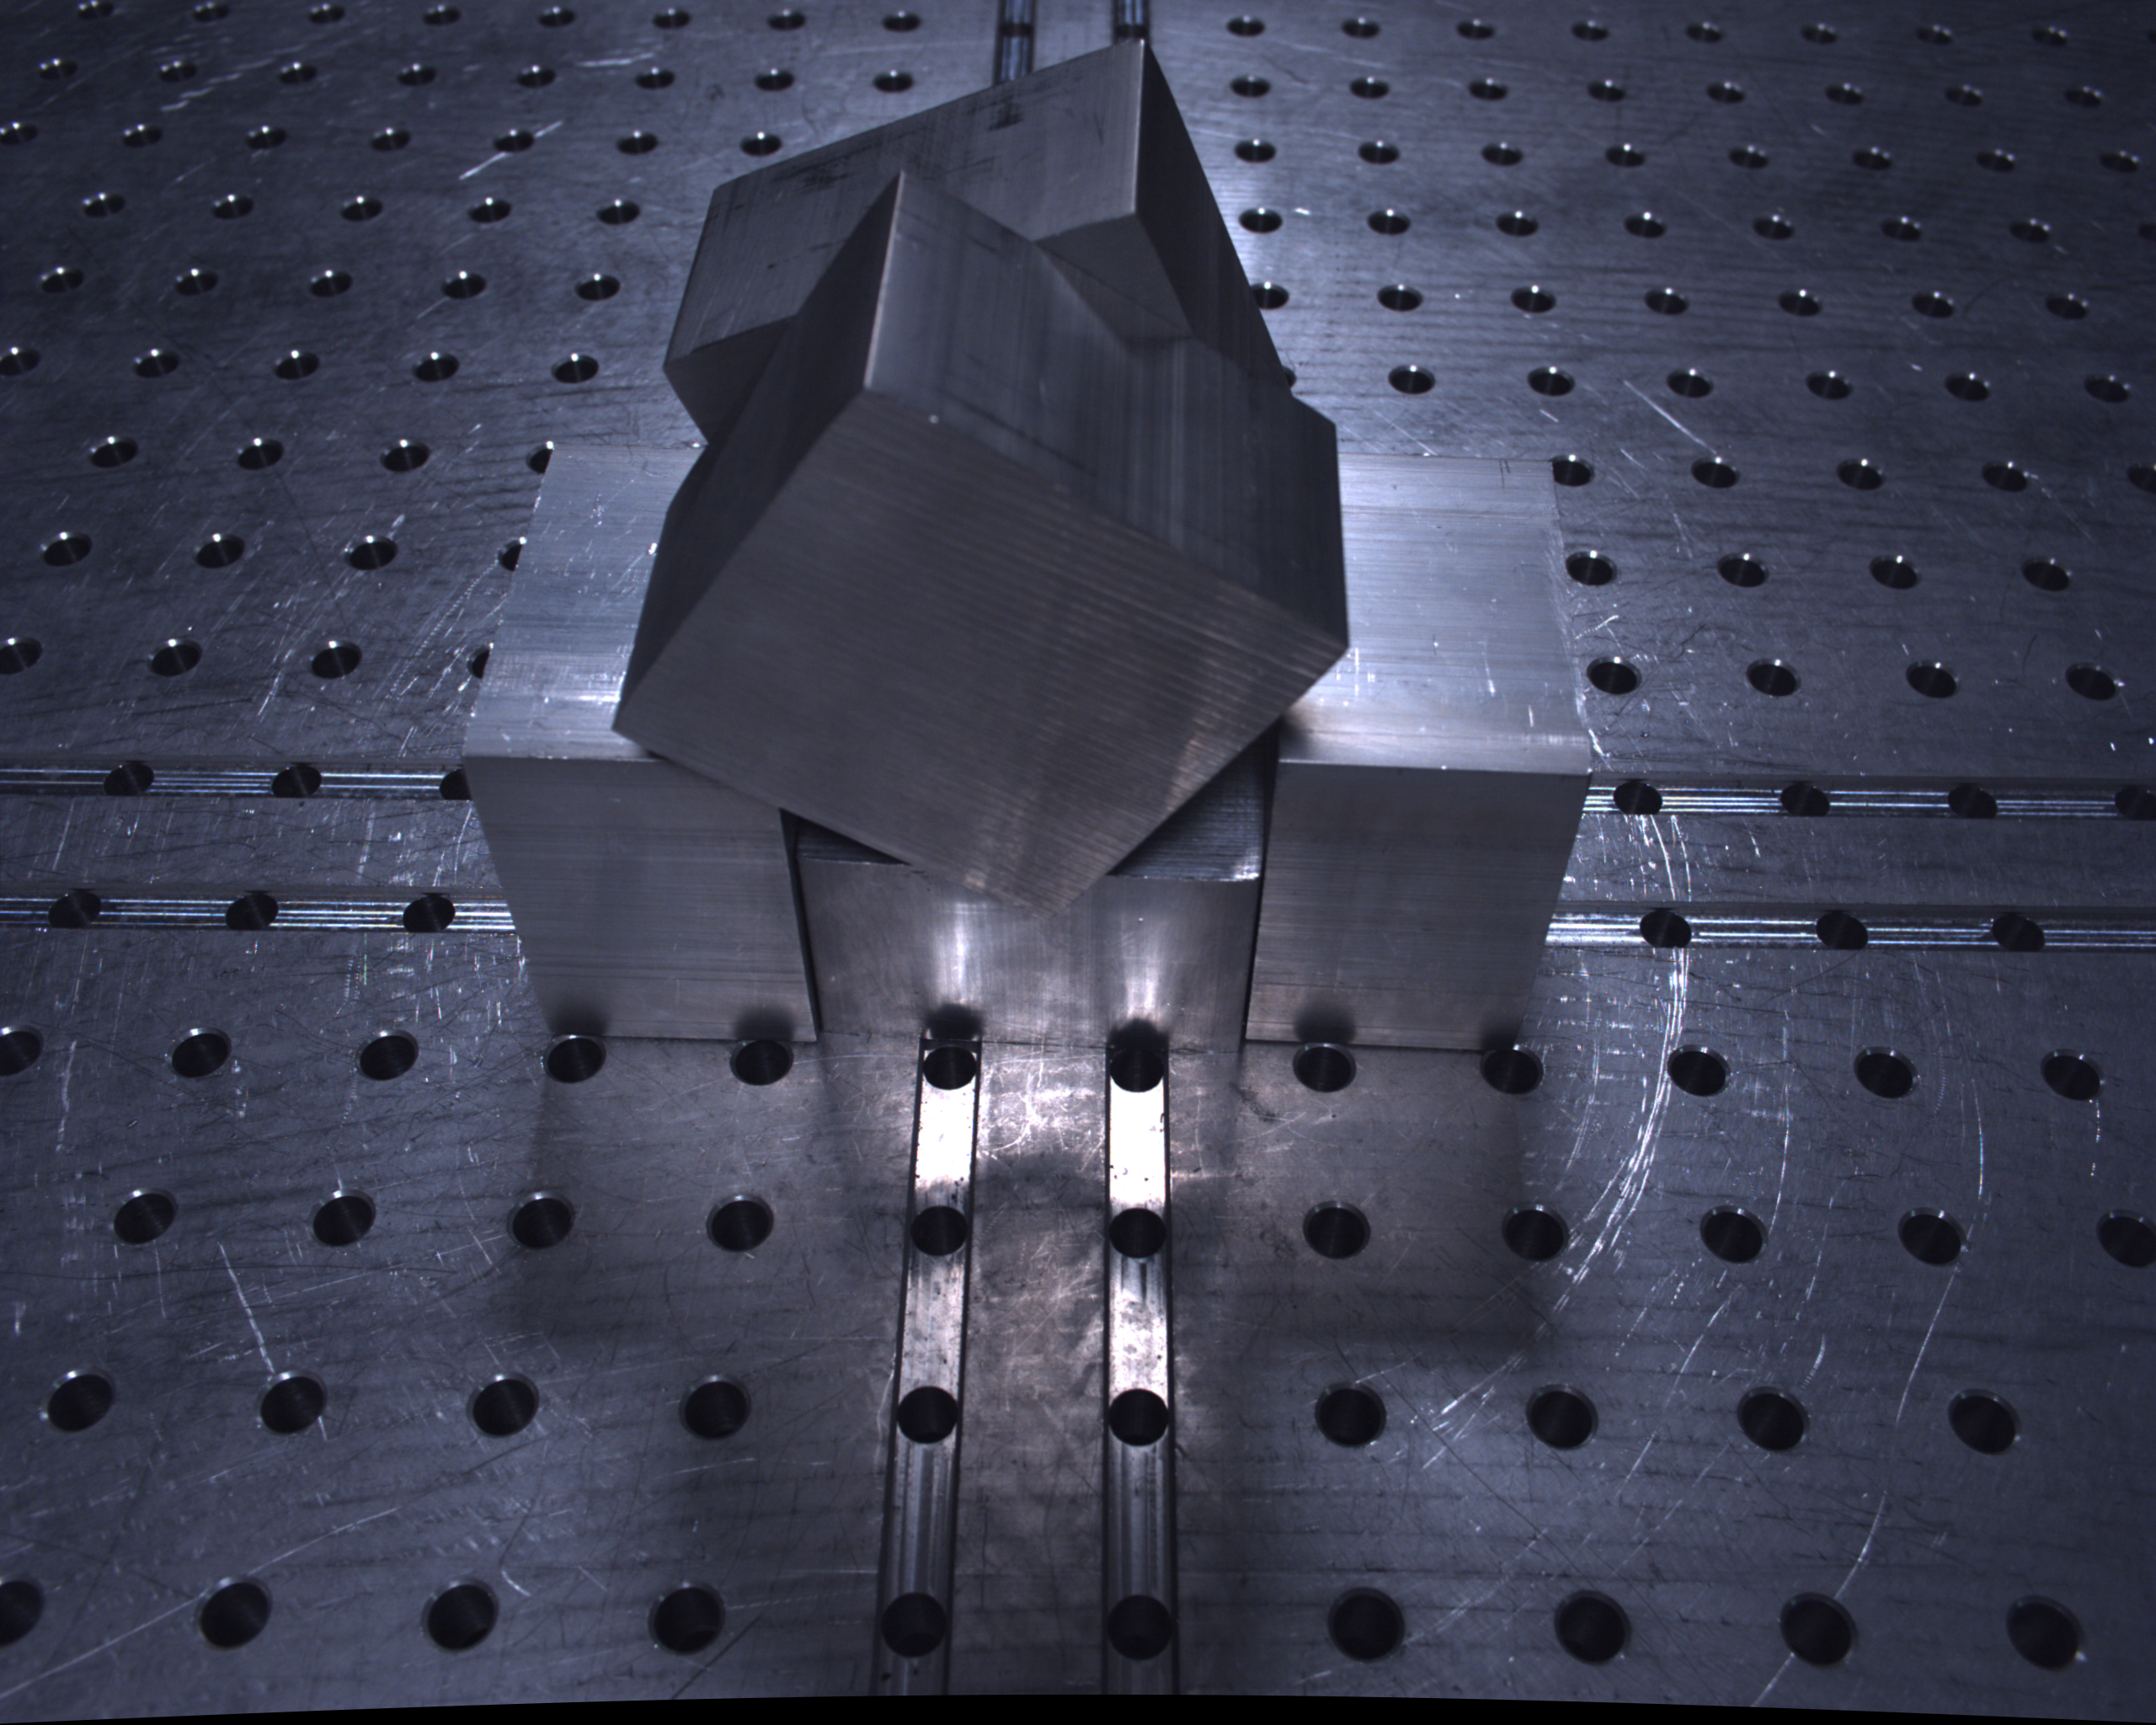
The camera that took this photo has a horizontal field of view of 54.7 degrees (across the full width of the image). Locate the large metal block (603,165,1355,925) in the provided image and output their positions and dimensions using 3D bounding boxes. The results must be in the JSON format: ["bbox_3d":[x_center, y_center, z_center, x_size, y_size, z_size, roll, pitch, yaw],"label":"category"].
[{"bbox_3d":[-0.015,-0.044,0.322,0.080,0.080,0.050,25,45,-23],"label":"large metal block"}]

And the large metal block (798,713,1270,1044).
[{"bbox_3d":[-0.006,-0.014,0.400,0.081,0.050,0.080,2,50,1],"label":"large metal block"}]

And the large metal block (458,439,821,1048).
[{"bbox_3d":[-0.073,-0.022,0.389,0.050,0.080,0.080,2,50,1],"label":"large metal block"}]

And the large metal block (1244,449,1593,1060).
[{"bbox_3d":[0.059,-0.020,0.389,0.050,0.080,0.080,3,50,2],"label":"large metal block"}]

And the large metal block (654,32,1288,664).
[{"bbox_3d":[-0.013,-0.081,0.357,0.080,0.080,0.050,-13,47,18],"label":"large metal block"}]
